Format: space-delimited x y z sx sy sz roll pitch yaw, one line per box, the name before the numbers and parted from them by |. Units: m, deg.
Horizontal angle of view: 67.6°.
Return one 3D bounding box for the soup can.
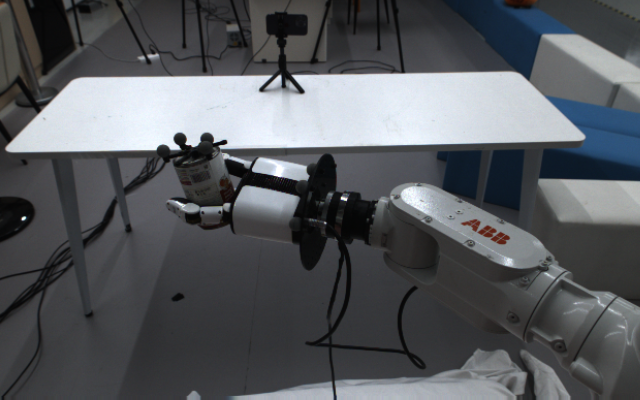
soup can | -0.155 -0.017 0.674 0.067 0.101 0.067 -11 27 6
